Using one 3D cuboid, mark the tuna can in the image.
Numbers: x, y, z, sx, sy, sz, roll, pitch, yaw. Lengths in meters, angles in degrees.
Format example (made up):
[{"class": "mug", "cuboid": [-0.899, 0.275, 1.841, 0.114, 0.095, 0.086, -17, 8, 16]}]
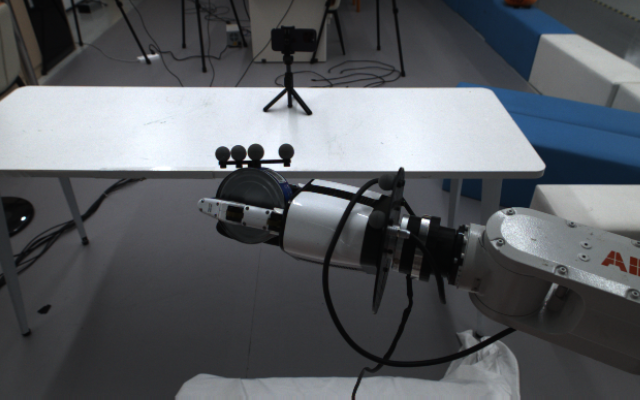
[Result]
[{"class": "tuna can", "cuboid": [-0.071, 0.005, 0.550, 0.085, 0.085, 0.034, 15, 10, 18]}]
